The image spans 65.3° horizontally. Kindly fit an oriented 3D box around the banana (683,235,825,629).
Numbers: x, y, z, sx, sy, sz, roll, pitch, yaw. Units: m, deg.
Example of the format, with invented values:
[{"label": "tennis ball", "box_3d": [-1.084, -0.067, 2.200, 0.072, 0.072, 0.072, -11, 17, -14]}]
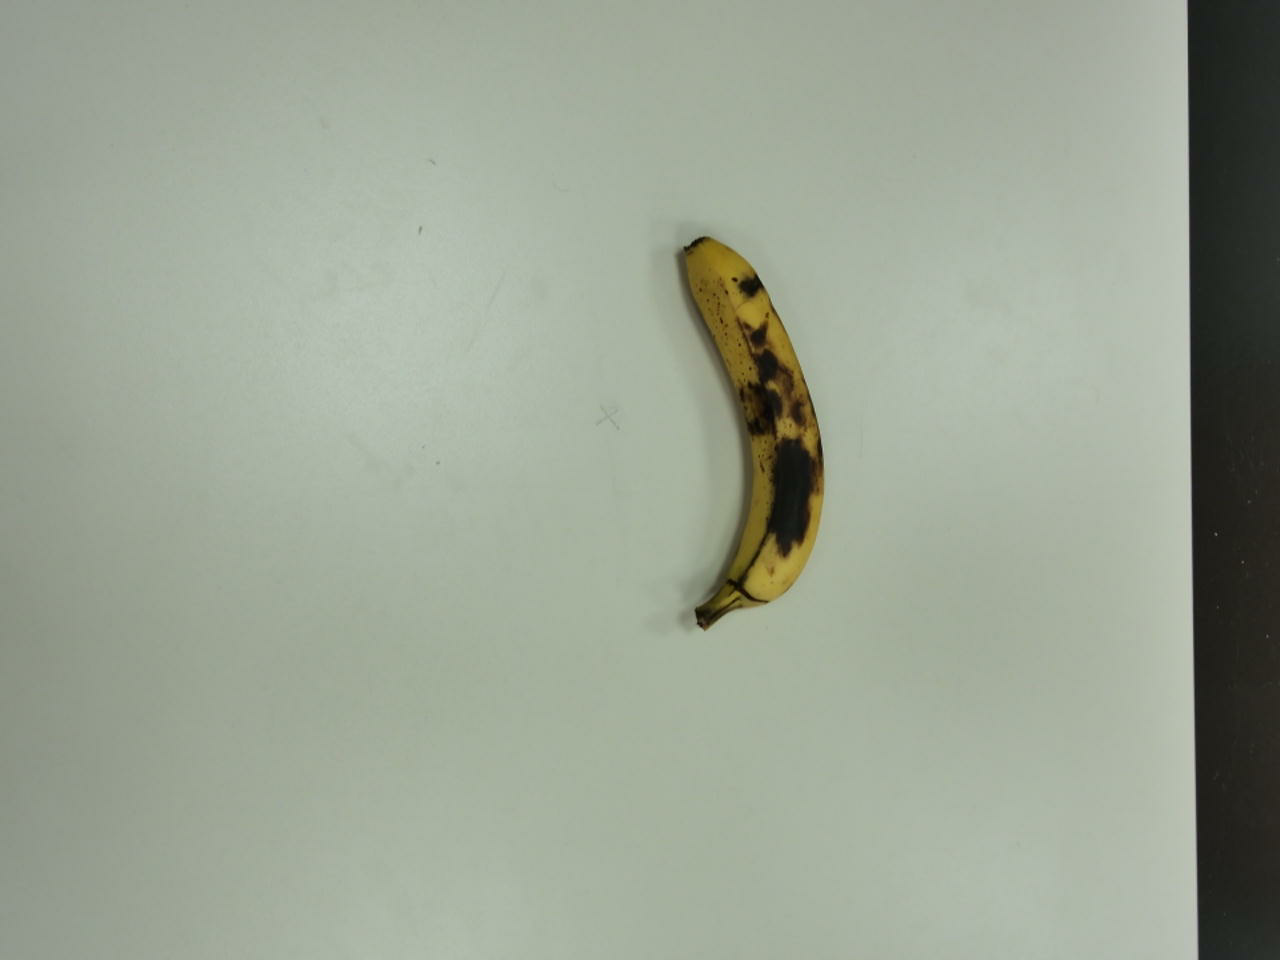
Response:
[{"label": "banana", "box_3d": [0.068, -0.027, 0.577, 0.084, 0.038, 0.222, 0, 90, -22]}]
